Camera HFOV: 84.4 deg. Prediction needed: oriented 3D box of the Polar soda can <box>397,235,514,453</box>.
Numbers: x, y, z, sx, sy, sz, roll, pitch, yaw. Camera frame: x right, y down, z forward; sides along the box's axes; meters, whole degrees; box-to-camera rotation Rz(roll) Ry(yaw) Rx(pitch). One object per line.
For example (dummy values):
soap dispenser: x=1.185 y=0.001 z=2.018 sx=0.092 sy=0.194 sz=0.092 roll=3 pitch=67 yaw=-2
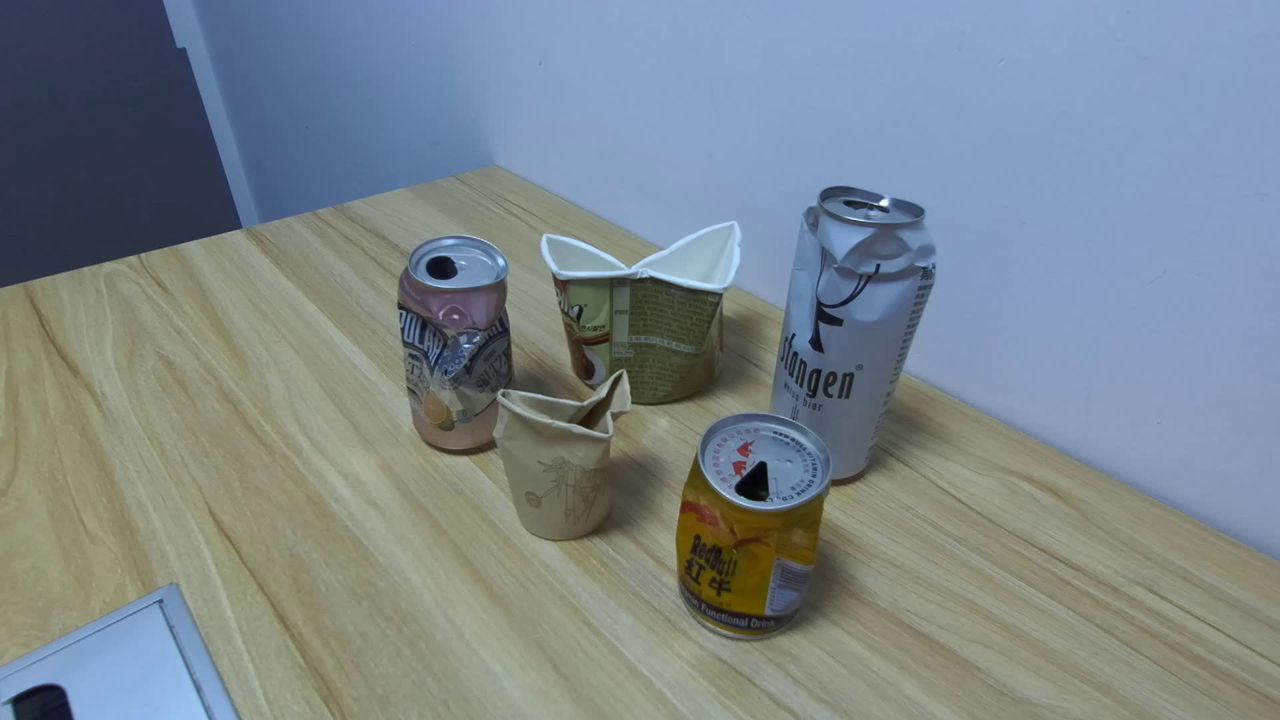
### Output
Polar soda can: x=-0.106 y=-0.007 z=0.427 sx=0.067 sy=0.122 sz=0.070 roll=-13 pitch=39 yaw=-28

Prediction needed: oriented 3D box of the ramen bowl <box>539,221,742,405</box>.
ramen bowl: x=0.000 y=-0.040 z=0.492 sx=0.128 sy=0.093 sz=0.111 roll=5 pitch=36 yaw=6

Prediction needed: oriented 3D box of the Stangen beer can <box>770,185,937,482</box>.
Stangen beer can: x=0.114 y=-0.011 z=0.397 sx=0.066 sy=0.166 sz=0.066 roll=-1 pitch=35 yaw=-5

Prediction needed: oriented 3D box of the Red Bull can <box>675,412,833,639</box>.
Red Bull can: x=0.052 y=0.078 z=0.331 sx=0.072 sy=0.092 sz=0.072 roll=2 pitch=36 yaw=-1

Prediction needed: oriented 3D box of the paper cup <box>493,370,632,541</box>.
paper cup: x=-0.039 y=0.048 z=0.381 sx=0.066 sy=0.083 sz=0.058 roll=13 pitch=35 yaw=14
